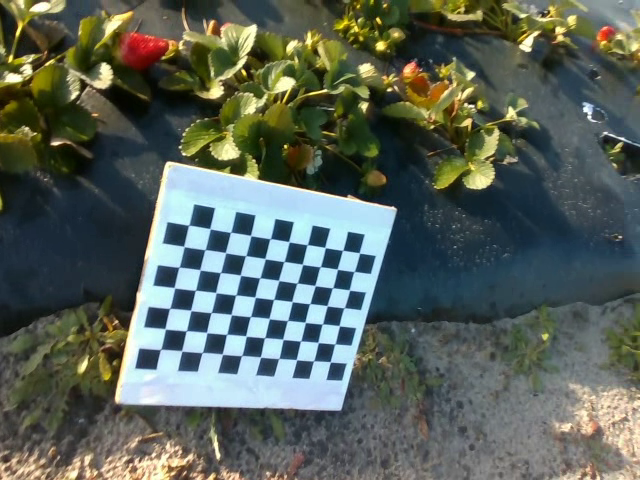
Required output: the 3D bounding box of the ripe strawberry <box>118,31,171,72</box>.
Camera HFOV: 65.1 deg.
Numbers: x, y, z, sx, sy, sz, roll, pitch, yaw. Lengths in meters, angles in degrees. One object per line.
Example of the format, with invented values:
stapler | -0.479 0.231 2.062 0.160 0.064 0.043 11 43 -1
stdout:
ripe strawberry | -0.227 -0.228 0.579 0.072 0.057 0.055 -12 23 -4
